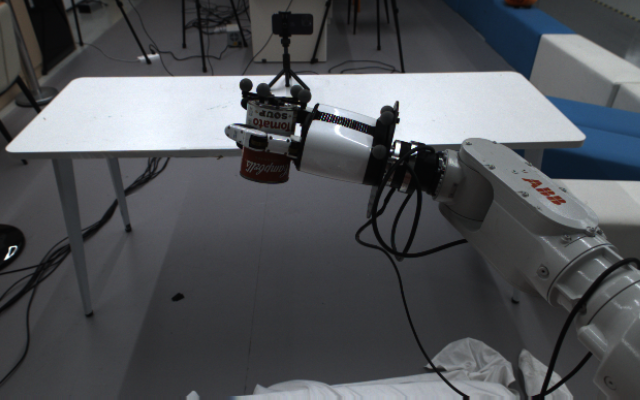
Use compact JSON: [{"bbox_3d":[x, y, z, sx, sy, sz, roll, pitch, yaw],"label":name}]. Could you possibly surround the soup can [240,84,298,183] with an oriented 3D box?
[{"bbox_3d":[-0.068,-0.080,0.645,0.067,0.101,0.067,8,19,-3],"label":"soup can"}]
